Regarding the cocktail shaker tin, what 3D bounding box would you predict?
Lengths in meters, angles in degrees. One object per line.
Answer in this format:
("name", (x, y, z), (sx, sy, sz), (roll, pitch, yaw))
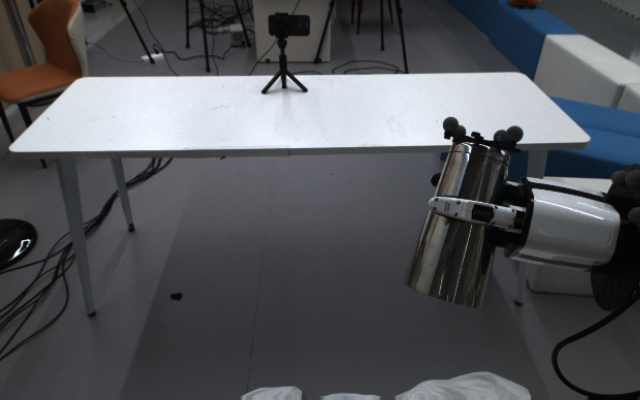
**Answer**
("cocktail shaker tin", (0.162, 0.024, 0.552), (0.093, 0.170, 0.093), (14, 2, 0))
